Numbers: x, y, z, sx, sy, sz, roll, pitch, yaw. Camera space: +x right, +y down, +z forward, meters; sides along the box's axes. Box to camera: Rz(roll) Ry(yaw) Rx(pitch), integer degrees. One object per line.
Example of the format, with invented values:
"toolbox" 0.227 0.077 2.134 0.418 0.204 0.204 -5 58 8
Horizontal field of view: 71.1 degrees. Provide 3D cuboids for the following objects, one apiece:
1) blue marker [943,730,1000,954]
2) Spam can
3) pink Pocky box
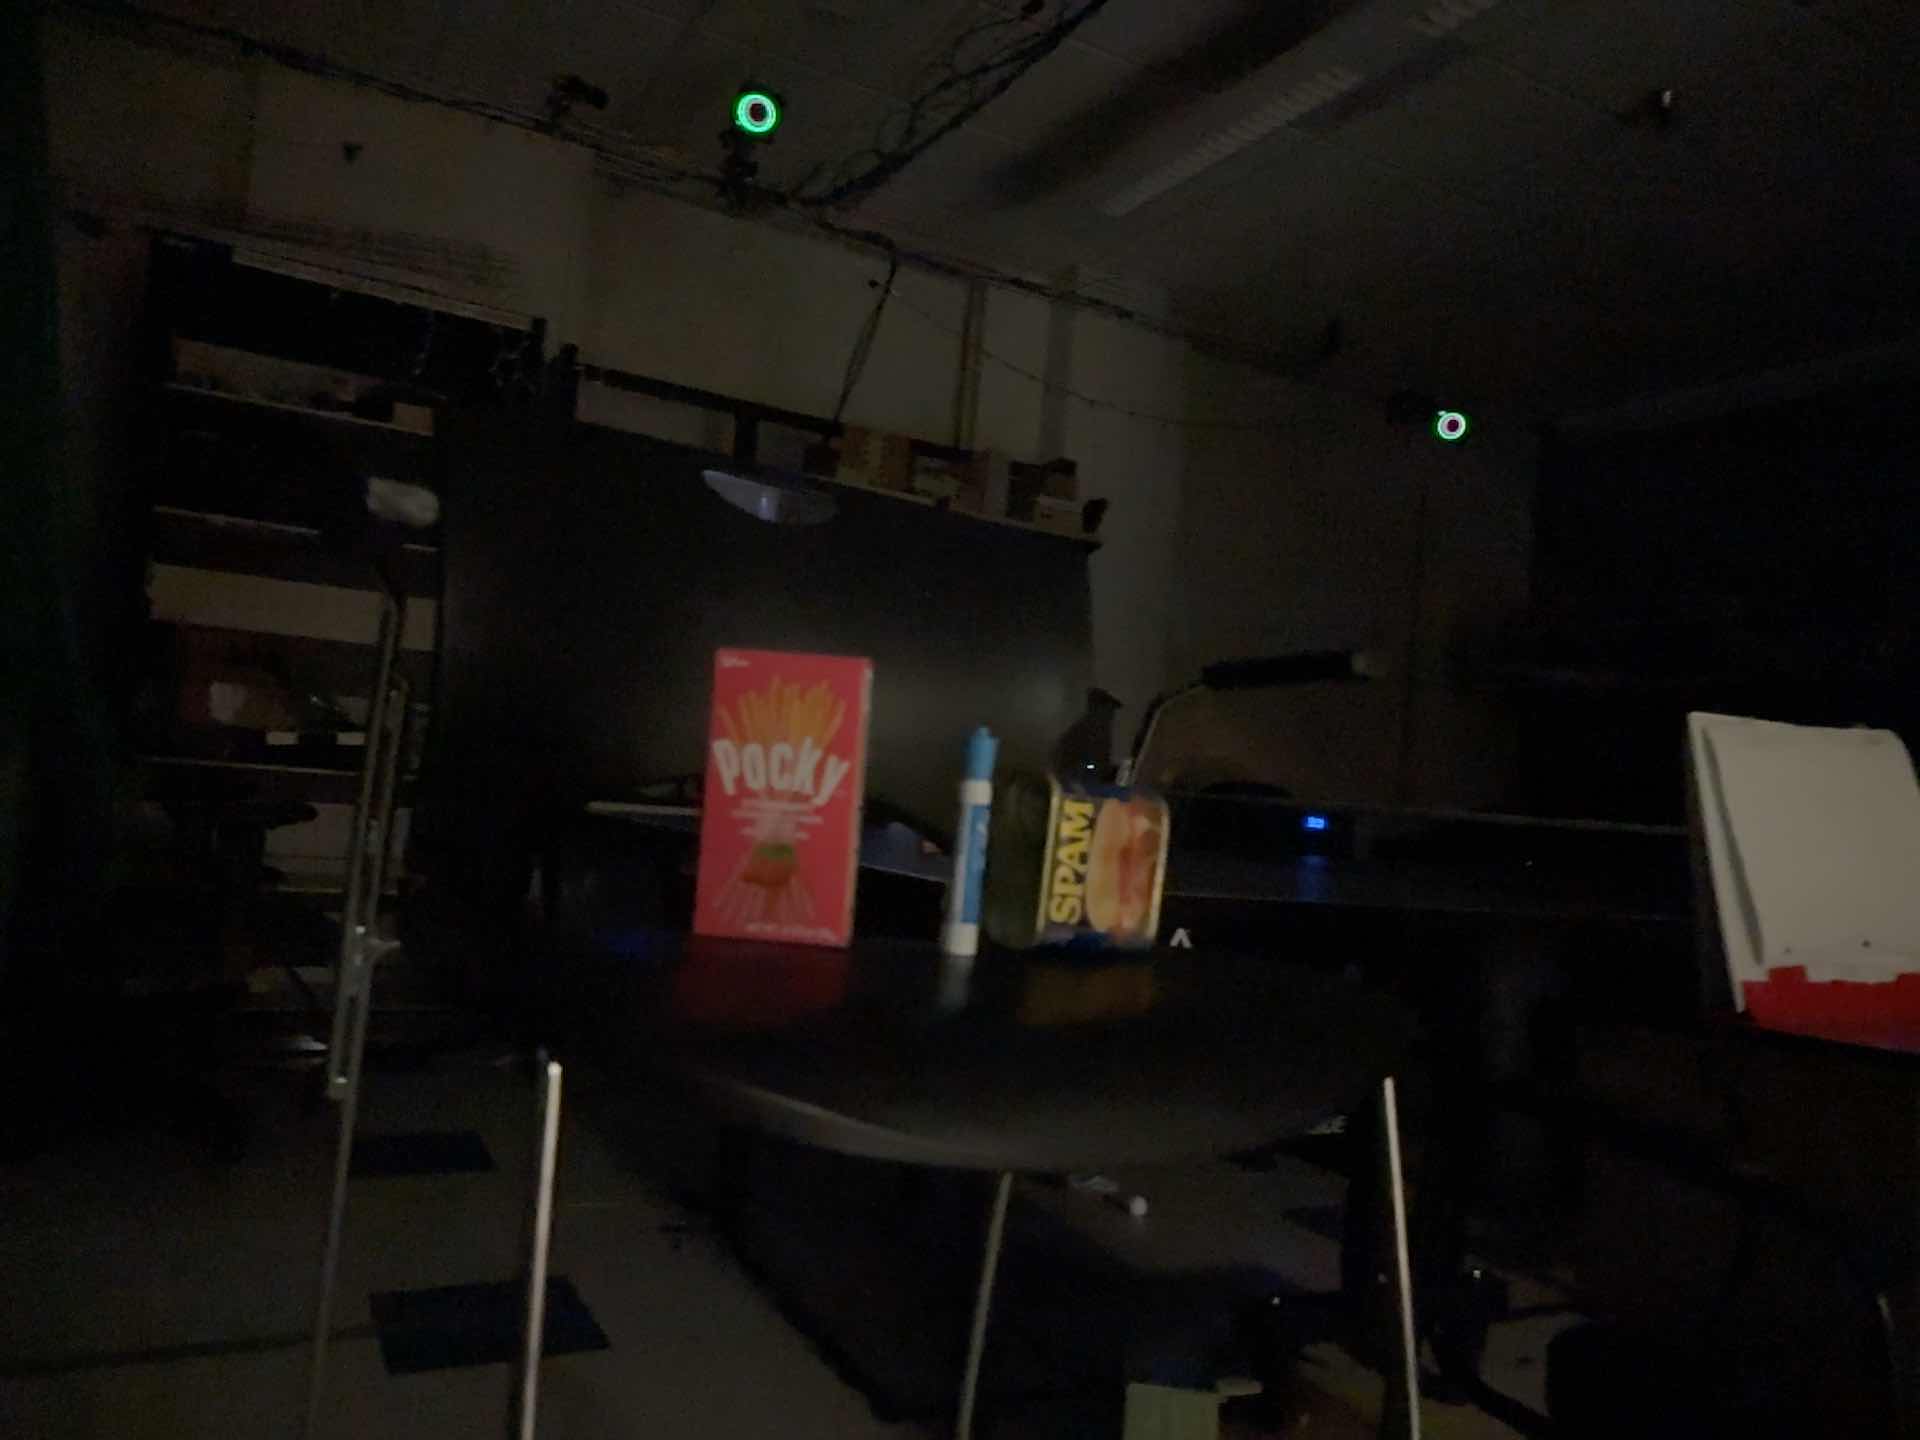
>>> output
"blue marker" 0.006 0.066 0.733 0.020 0.121 0.020 6 1 0
"Spam can" 0.072 0.079 0.786 0.083 0.100 0.056 8 -2 -35
"pink Pocky box" -0.096 0.039 0.718 0.084 0.155 0.029 4 1 7
